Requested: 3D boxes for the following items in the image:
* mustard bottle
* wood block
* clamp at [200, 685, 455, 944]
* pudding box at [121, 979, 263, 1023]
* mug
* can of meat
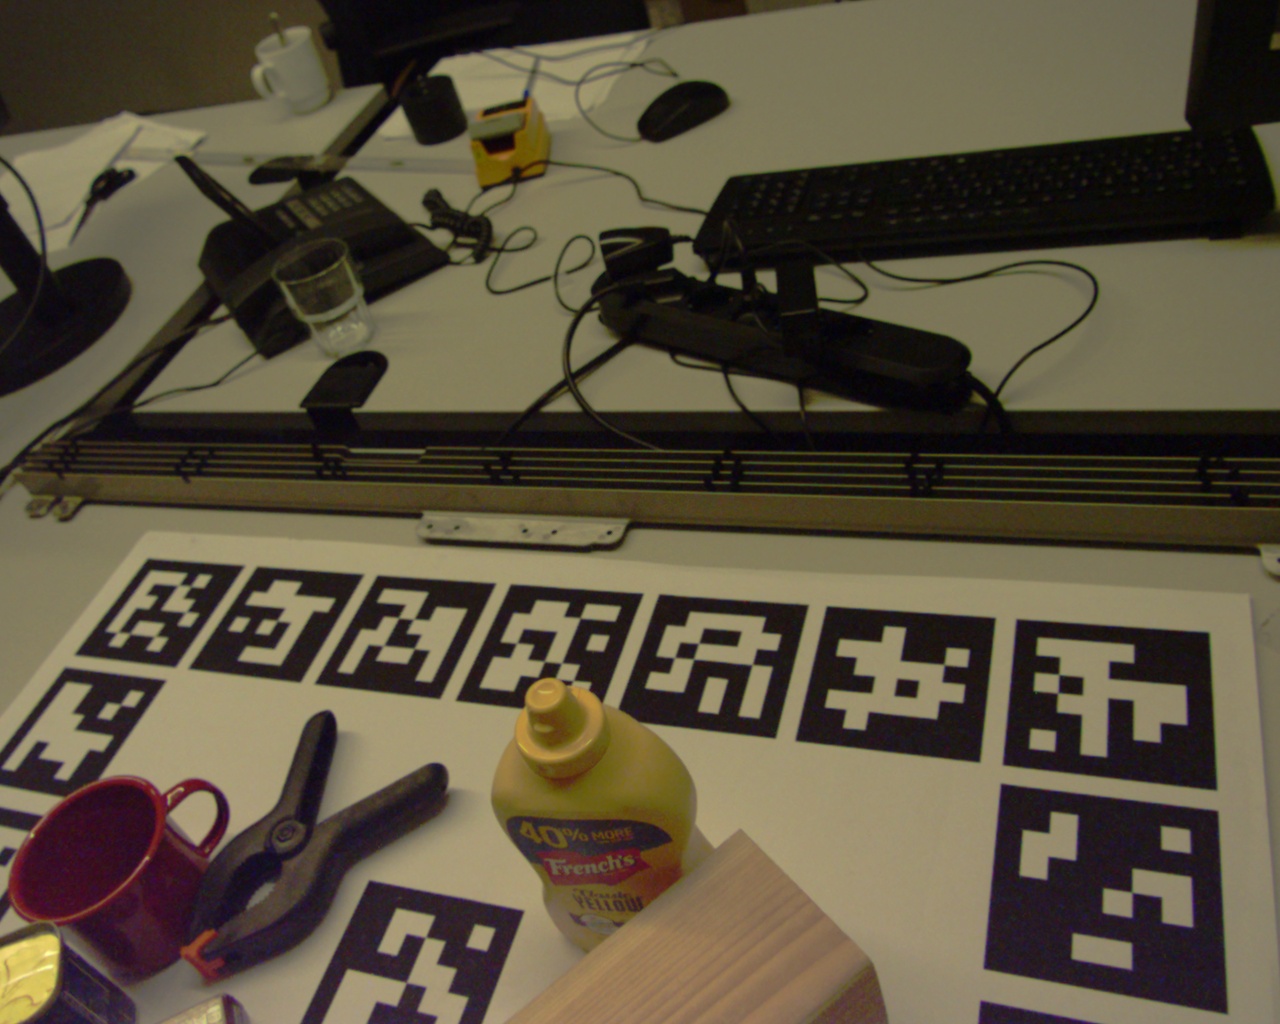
[{"bbox_3d":[-0.026,0.140,0.572,0.097,0.190,0.058,-2,46,19],"label":"mustard bottle"},{"bbox_3d":[-0.003,0.254,0.527,0.205,0.090,0.091,-34,42,-17],"label":"wood block"},{"bbox_3d":[-0.206,0.191,0.708,0.123,0.036,0.164,20,57,33],"label":"clamp"},{"bbox_3d":[-0.250,0.310,0.596,0.113,0.038,0.091,-25,43,-8],"label":"pudding box"},{"bbox_3d":[-0.295,0.214,0.712,0.094,0.081,0.116,22,58,36],"label":"mug"},{"bbox_3d":[-0.342,0.272,0.629,0.102,0.083,0.058,-20,43,0],"label":"can of meat"}]
